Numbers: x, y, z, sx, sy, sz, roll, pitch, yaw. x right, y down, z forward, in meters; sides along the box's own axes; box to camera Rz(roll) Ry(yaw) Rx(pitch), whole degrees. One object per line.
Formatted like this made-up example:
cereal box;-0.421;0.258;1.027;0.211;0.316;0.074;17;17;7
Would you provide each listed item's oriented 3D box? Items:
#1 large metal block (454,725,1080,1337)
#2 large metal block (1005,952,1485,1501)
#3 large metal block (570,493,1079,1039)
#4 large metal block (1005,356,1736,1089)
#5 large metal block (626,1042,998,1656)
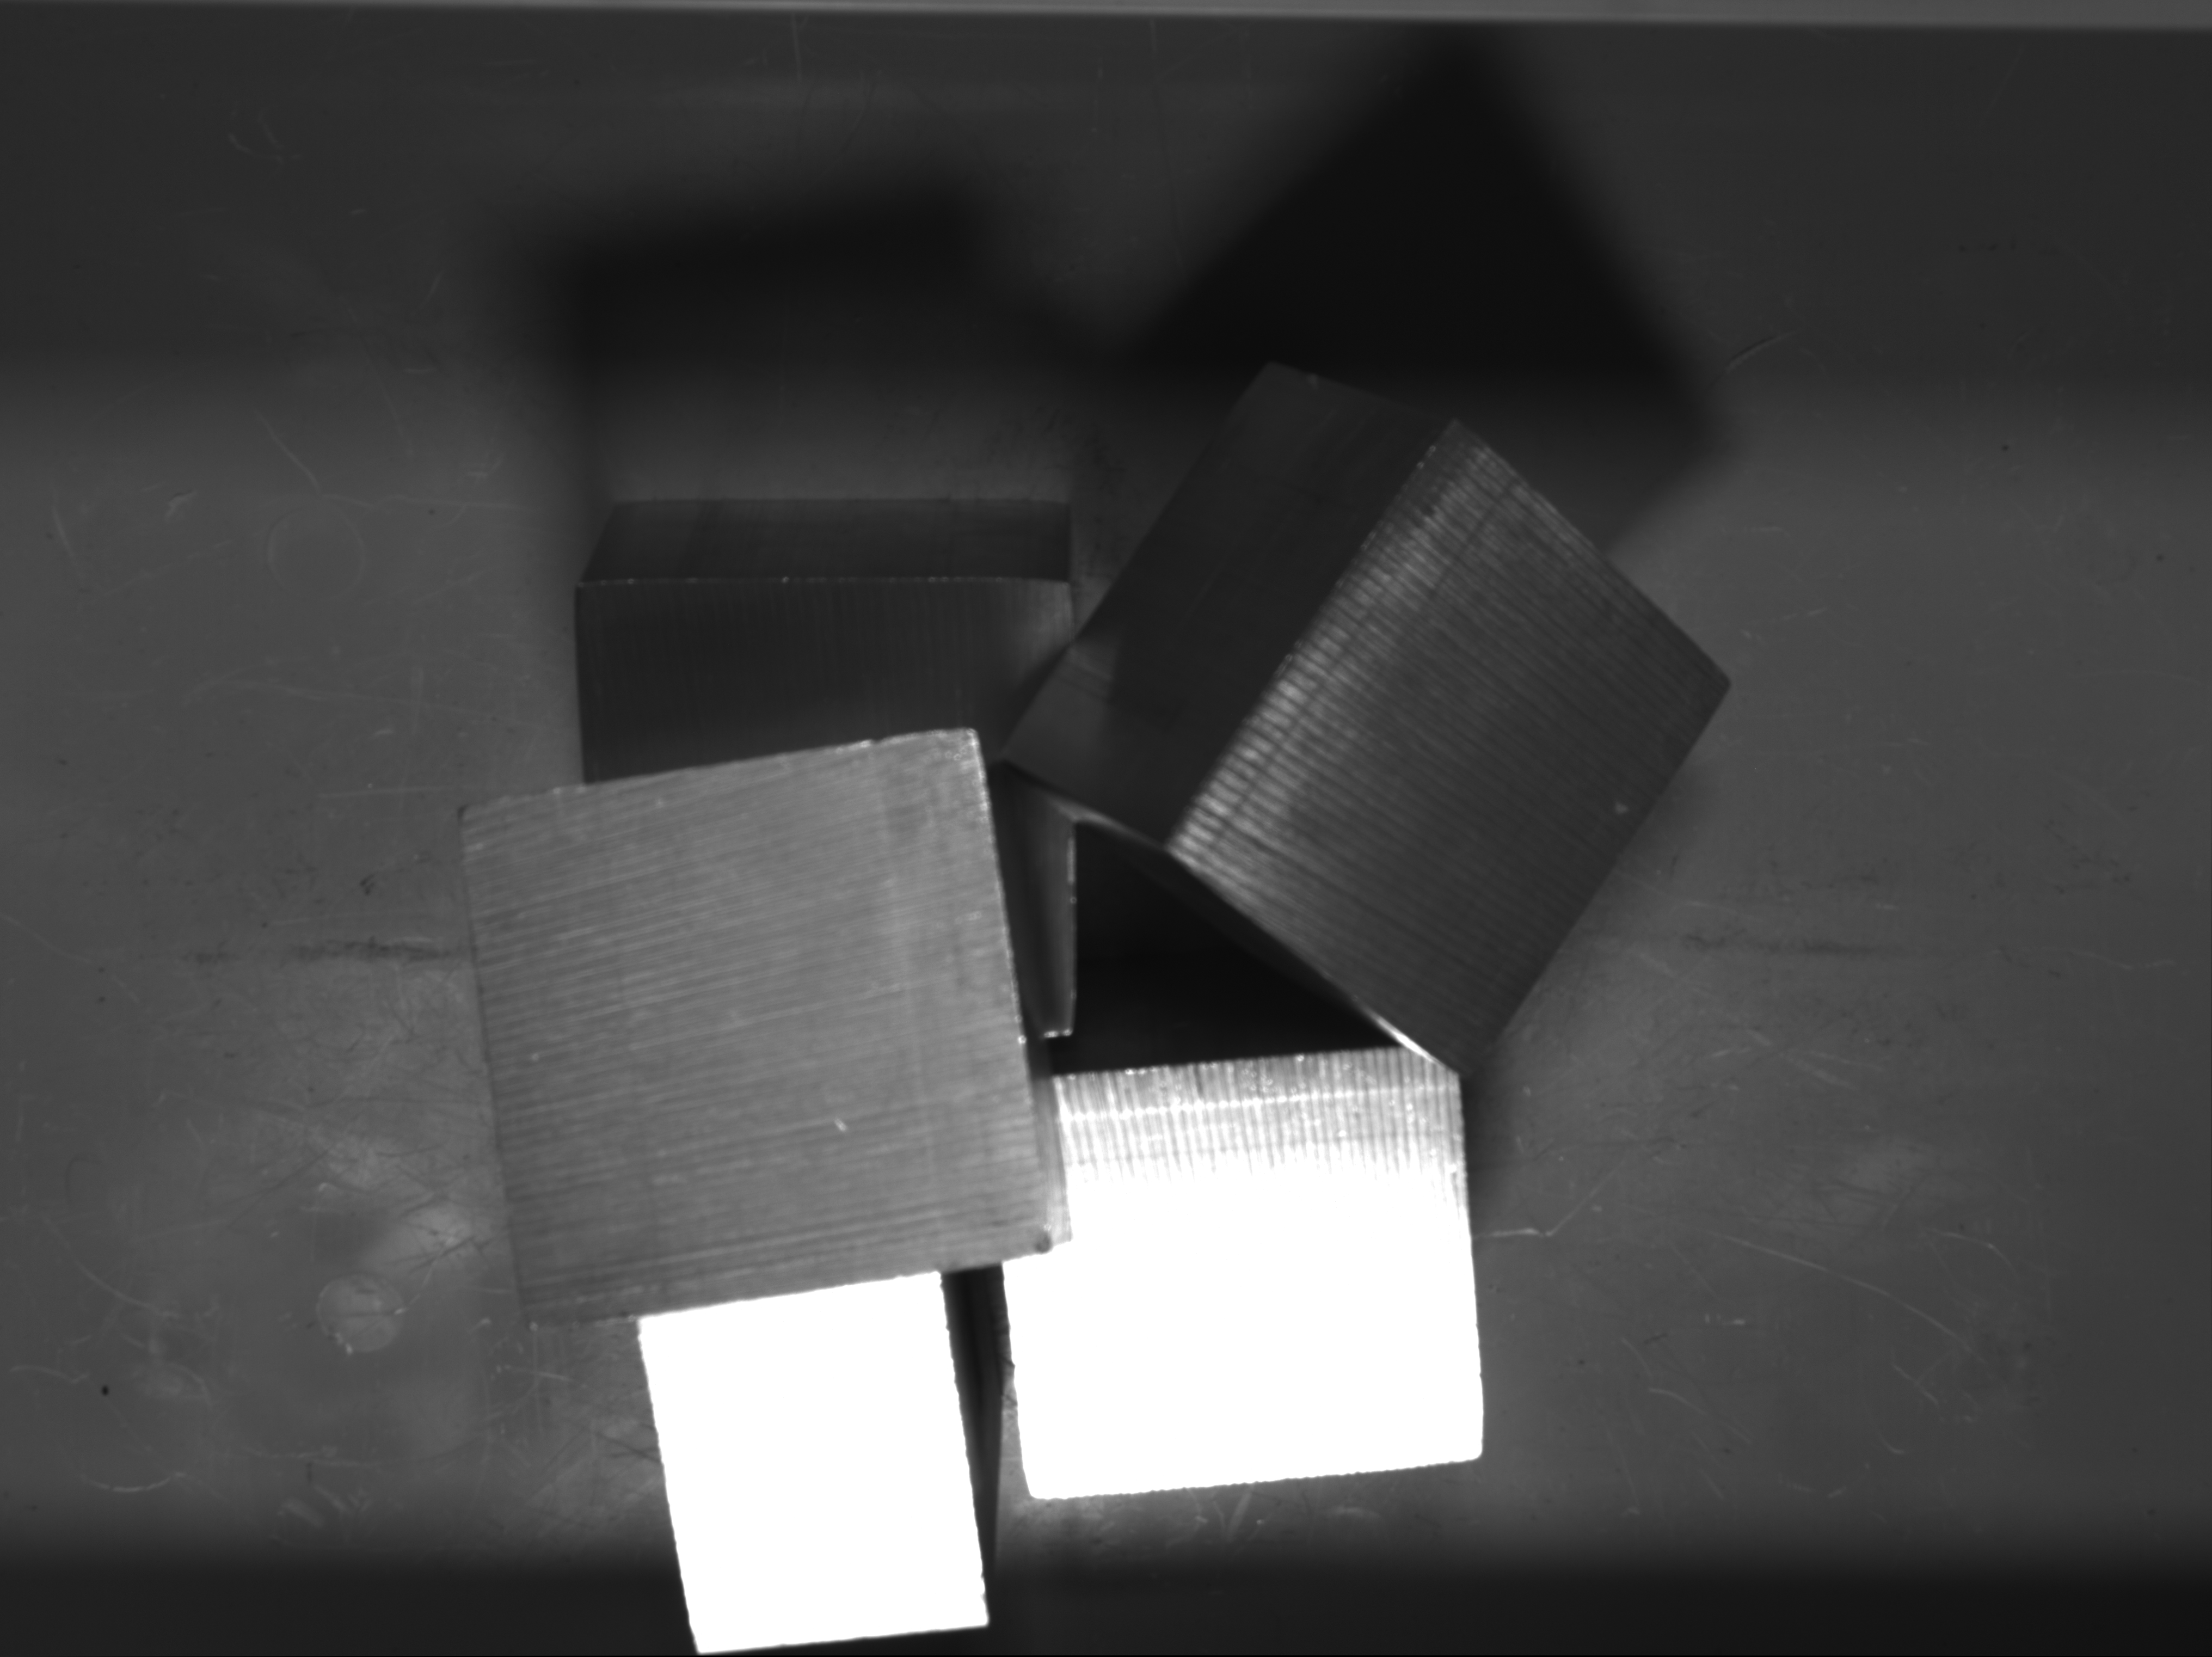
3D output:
large metal block;-0.051;0.032;0.570;0.080;0.050;0.080;-9;85;3
large metal block;0.023;0.069;0.652;0.080;0.050;0.080;-5;110;1
large metal block;-0.045;-0.011;0.624;0.080;0.050;0.080;-1;110;0
large metal block;0.043;-0.017;0.596;0.080;0.050;0.080;37;84;-37
large metal block;-0.049;0.088;0.644;0.050;0.080;0.080;-6;110;2
